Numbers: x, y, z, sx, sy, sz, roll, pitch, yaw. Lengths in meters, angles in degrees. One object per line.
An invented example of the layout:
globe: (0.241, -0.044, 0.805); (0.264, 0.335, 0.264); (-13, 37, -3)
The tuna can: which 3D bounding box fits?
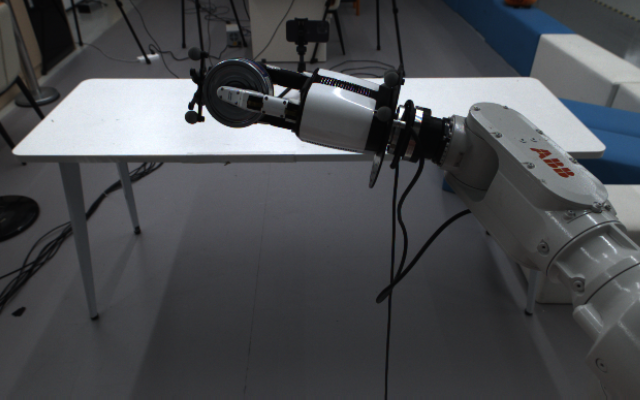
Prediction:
tuna can: (-0.102, -0.136, 0.613); (0.085, 0.085, 0.034); (4, 18, 3)
